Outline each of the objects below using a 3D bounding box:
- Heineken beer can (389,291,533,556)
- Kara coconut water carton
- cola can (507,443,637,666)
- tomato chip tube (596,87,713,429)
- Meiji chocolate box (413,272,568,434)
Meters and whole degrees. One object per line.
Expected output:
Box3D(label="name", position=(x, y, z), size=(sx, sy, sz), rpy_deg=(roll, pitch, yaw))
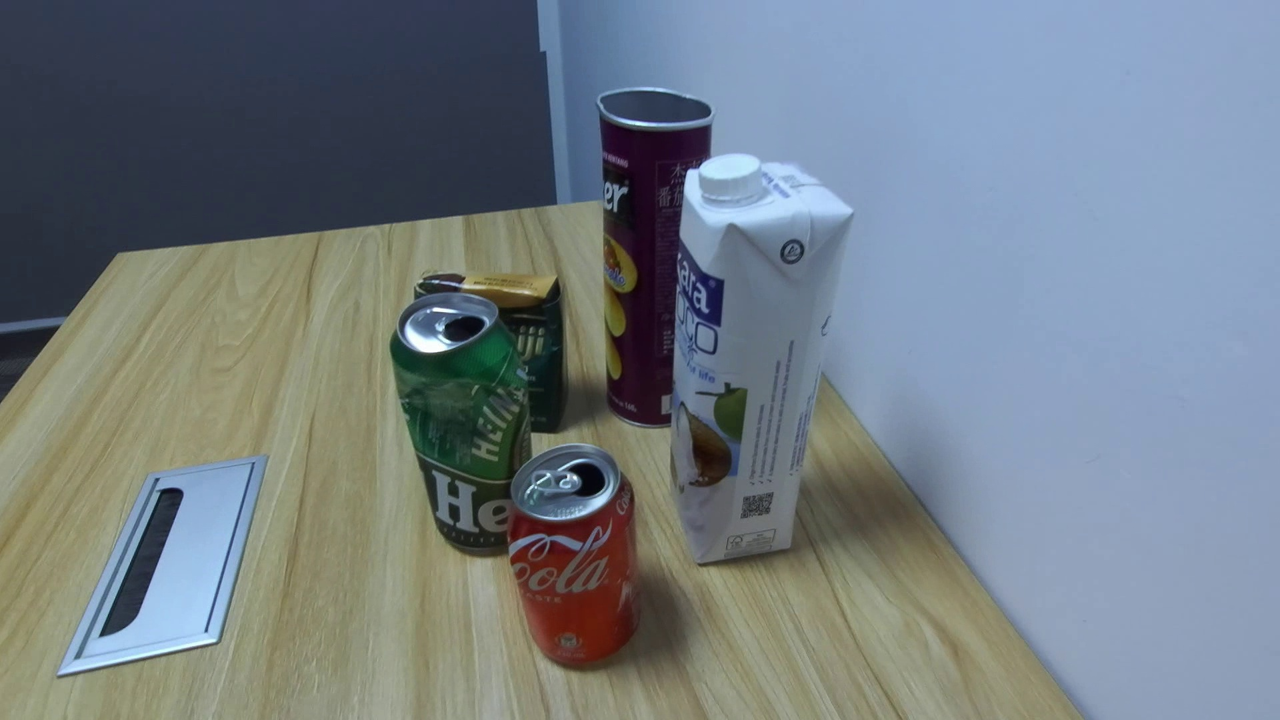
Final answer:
Box3D(label="Heineken beer can", position=(-0.104, 0.041, 0.431), size=(0.066, 0.164, 0.077), rpy_deg=(-15, 39, -19))
Box3D(label="Kara coconut water carton", position=(0.059, 0.006, 0.401), size=(0.075, 0.245, 0.077), rpy_deg=(-7, 36, -12))
Box3D(label="cola can", position=(-0.033, 0.106, 0.378), size=(0.065, 0.117, 0.072), rpy_deg=(18, 39, 23))
Box3D(label="tomato chip tube", position=(0.010, -0.065, 0.511), size=(0.076, 0.234, 0.080), rpy_deg=(1, 35, 2))
Box3D(label="Meiji chocolate box", position=(-0.116, -0.007, 0.543), size=(0.113, 0.111, 0.058), rpy_deg=(2, 23, 3))
